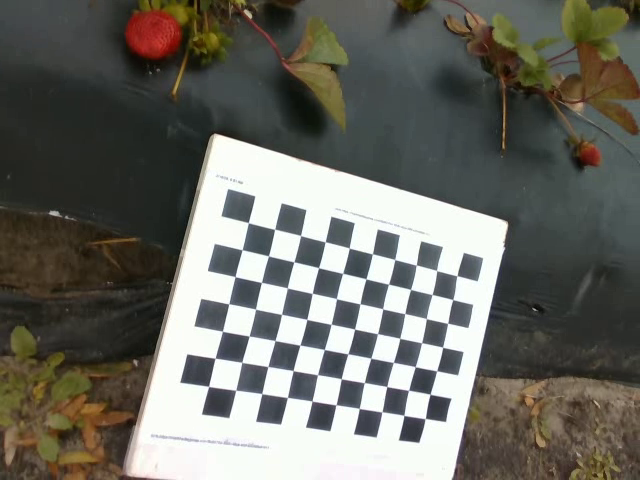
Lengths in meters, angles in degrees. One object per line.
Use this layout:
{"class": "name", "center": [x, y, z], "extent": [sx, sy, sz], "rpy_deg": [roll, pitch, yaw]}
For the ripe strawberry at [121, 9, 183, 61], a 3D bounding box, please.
{"class": "ripe strawberry", "center": [-0.036, -0.047, 0.160], "extent": [0.018, 0.017, 0.014], "rpy_deg": [24, -53, -31]}
